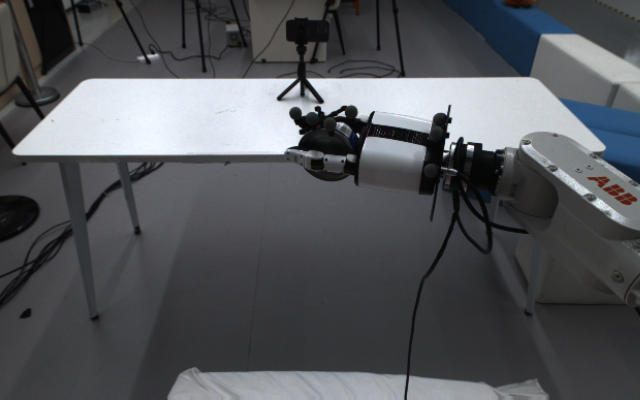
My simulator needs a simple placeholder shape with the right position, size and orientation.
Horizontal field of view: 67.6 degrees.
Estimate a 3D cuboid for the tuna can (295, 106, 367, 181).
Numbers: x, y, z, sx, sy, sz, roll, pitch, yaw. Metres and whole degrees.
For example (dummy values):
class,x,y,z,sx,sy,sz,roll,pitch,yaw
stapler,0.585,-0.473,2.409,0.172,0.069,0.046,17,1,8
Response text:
class,x,y,z,sx,sy,sz,roll,pitch,yaw
tuna can,0.015,-0.071,0.687,0.085,0.085,0.034,11,38,13
